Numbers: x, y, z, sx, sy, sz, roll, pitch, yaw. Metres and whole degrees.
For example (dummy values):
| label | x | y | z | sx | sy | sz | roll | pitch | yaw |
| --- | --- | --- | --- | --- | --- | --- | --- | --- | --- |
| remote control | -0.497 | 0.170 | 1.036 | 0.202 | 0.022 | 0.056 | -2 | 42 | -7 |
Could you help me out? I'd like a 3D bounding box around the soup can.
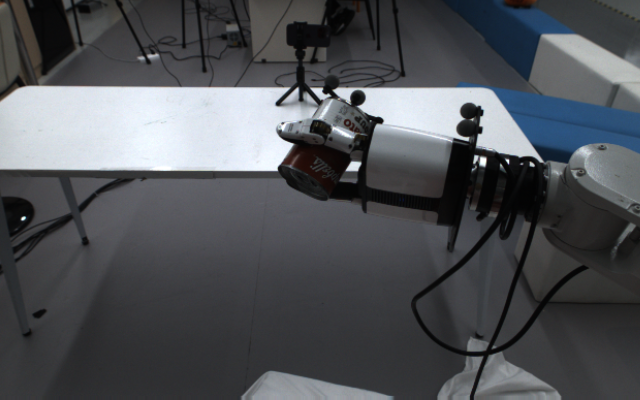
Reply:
| label | x | y | z | sx | sy | sz | roll | pitch | yaw |
| --- | --- | --- | --- | --- | --- | --- | --- | --- | --- |
| soup can | 0.008 | -0.059 | 0.556 | 0.067 | 0.067 | 0.101 | 24 | 73 | 28 |
